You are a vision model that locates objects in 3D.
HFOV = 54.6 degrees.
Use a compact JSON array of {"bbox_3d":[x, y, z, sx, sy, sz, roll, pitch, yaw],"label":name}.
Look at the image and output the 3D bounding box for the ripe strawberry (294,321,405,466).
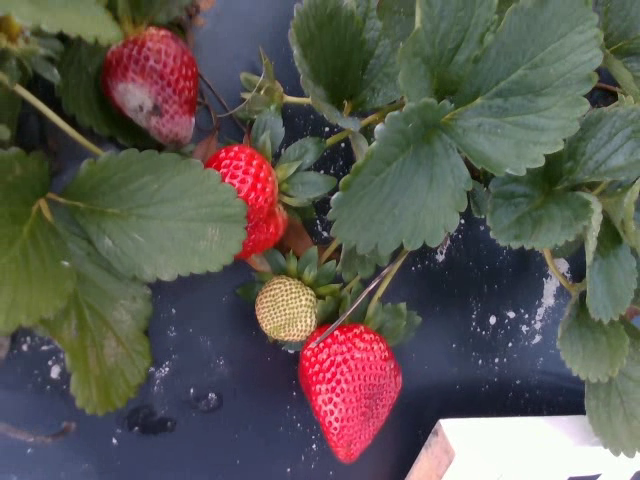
[{"bbox_3d":[0.012,0.070,0.272,0.057,0.064,0.056,-15,-47,16],"label":"ripe strawberry"}]
